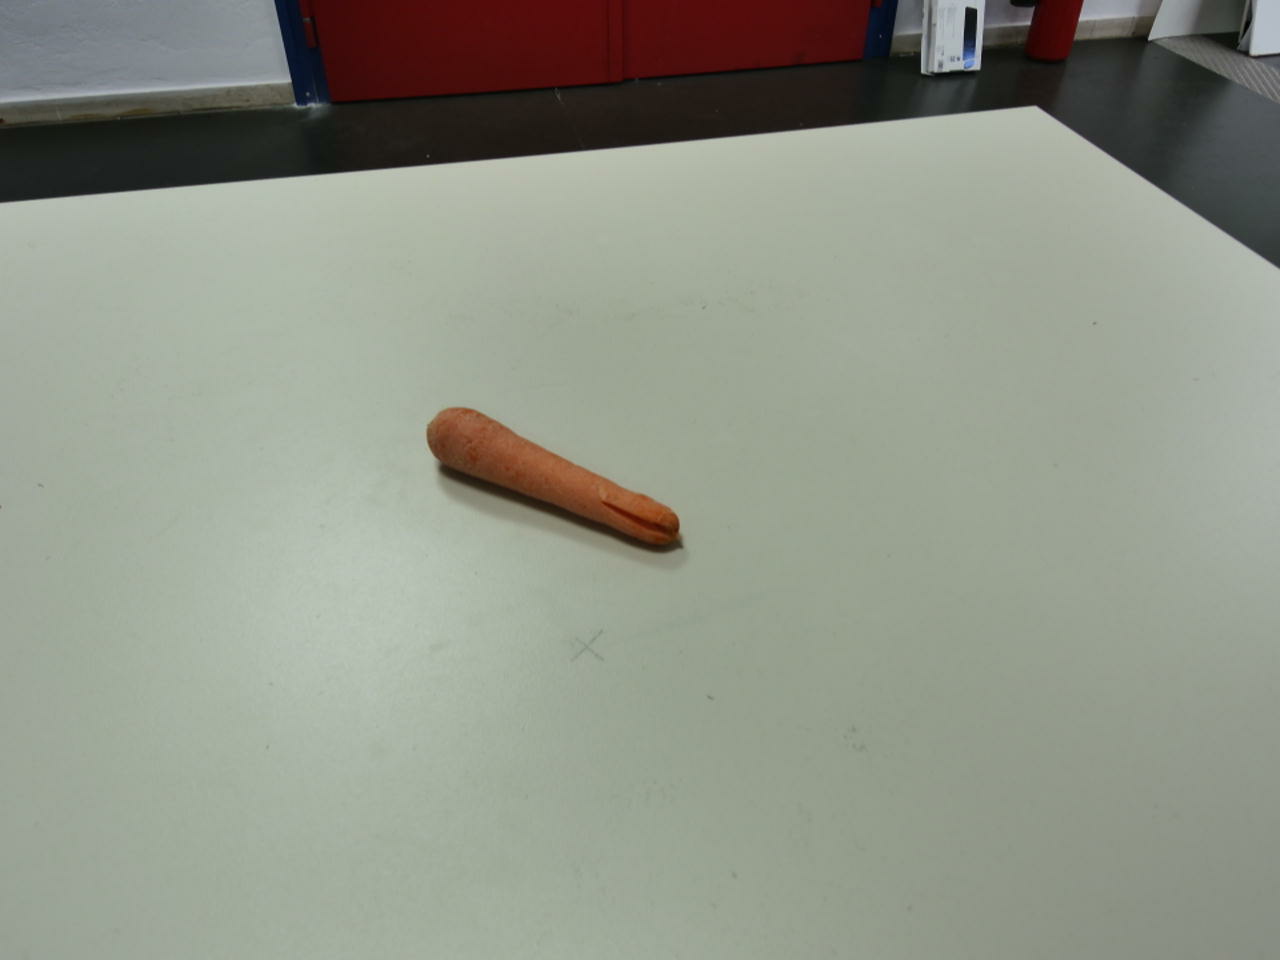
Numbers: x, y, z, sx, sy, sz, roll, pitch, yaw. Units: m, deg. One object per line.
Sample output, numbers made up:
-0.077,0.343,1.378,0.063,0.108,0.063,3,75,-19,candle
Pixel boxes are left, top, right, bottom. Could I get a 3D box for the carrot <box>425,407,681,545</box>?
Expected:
-0.042,-0.003,0.455,0.136,0.032,0.030,21,43,25,carrot
